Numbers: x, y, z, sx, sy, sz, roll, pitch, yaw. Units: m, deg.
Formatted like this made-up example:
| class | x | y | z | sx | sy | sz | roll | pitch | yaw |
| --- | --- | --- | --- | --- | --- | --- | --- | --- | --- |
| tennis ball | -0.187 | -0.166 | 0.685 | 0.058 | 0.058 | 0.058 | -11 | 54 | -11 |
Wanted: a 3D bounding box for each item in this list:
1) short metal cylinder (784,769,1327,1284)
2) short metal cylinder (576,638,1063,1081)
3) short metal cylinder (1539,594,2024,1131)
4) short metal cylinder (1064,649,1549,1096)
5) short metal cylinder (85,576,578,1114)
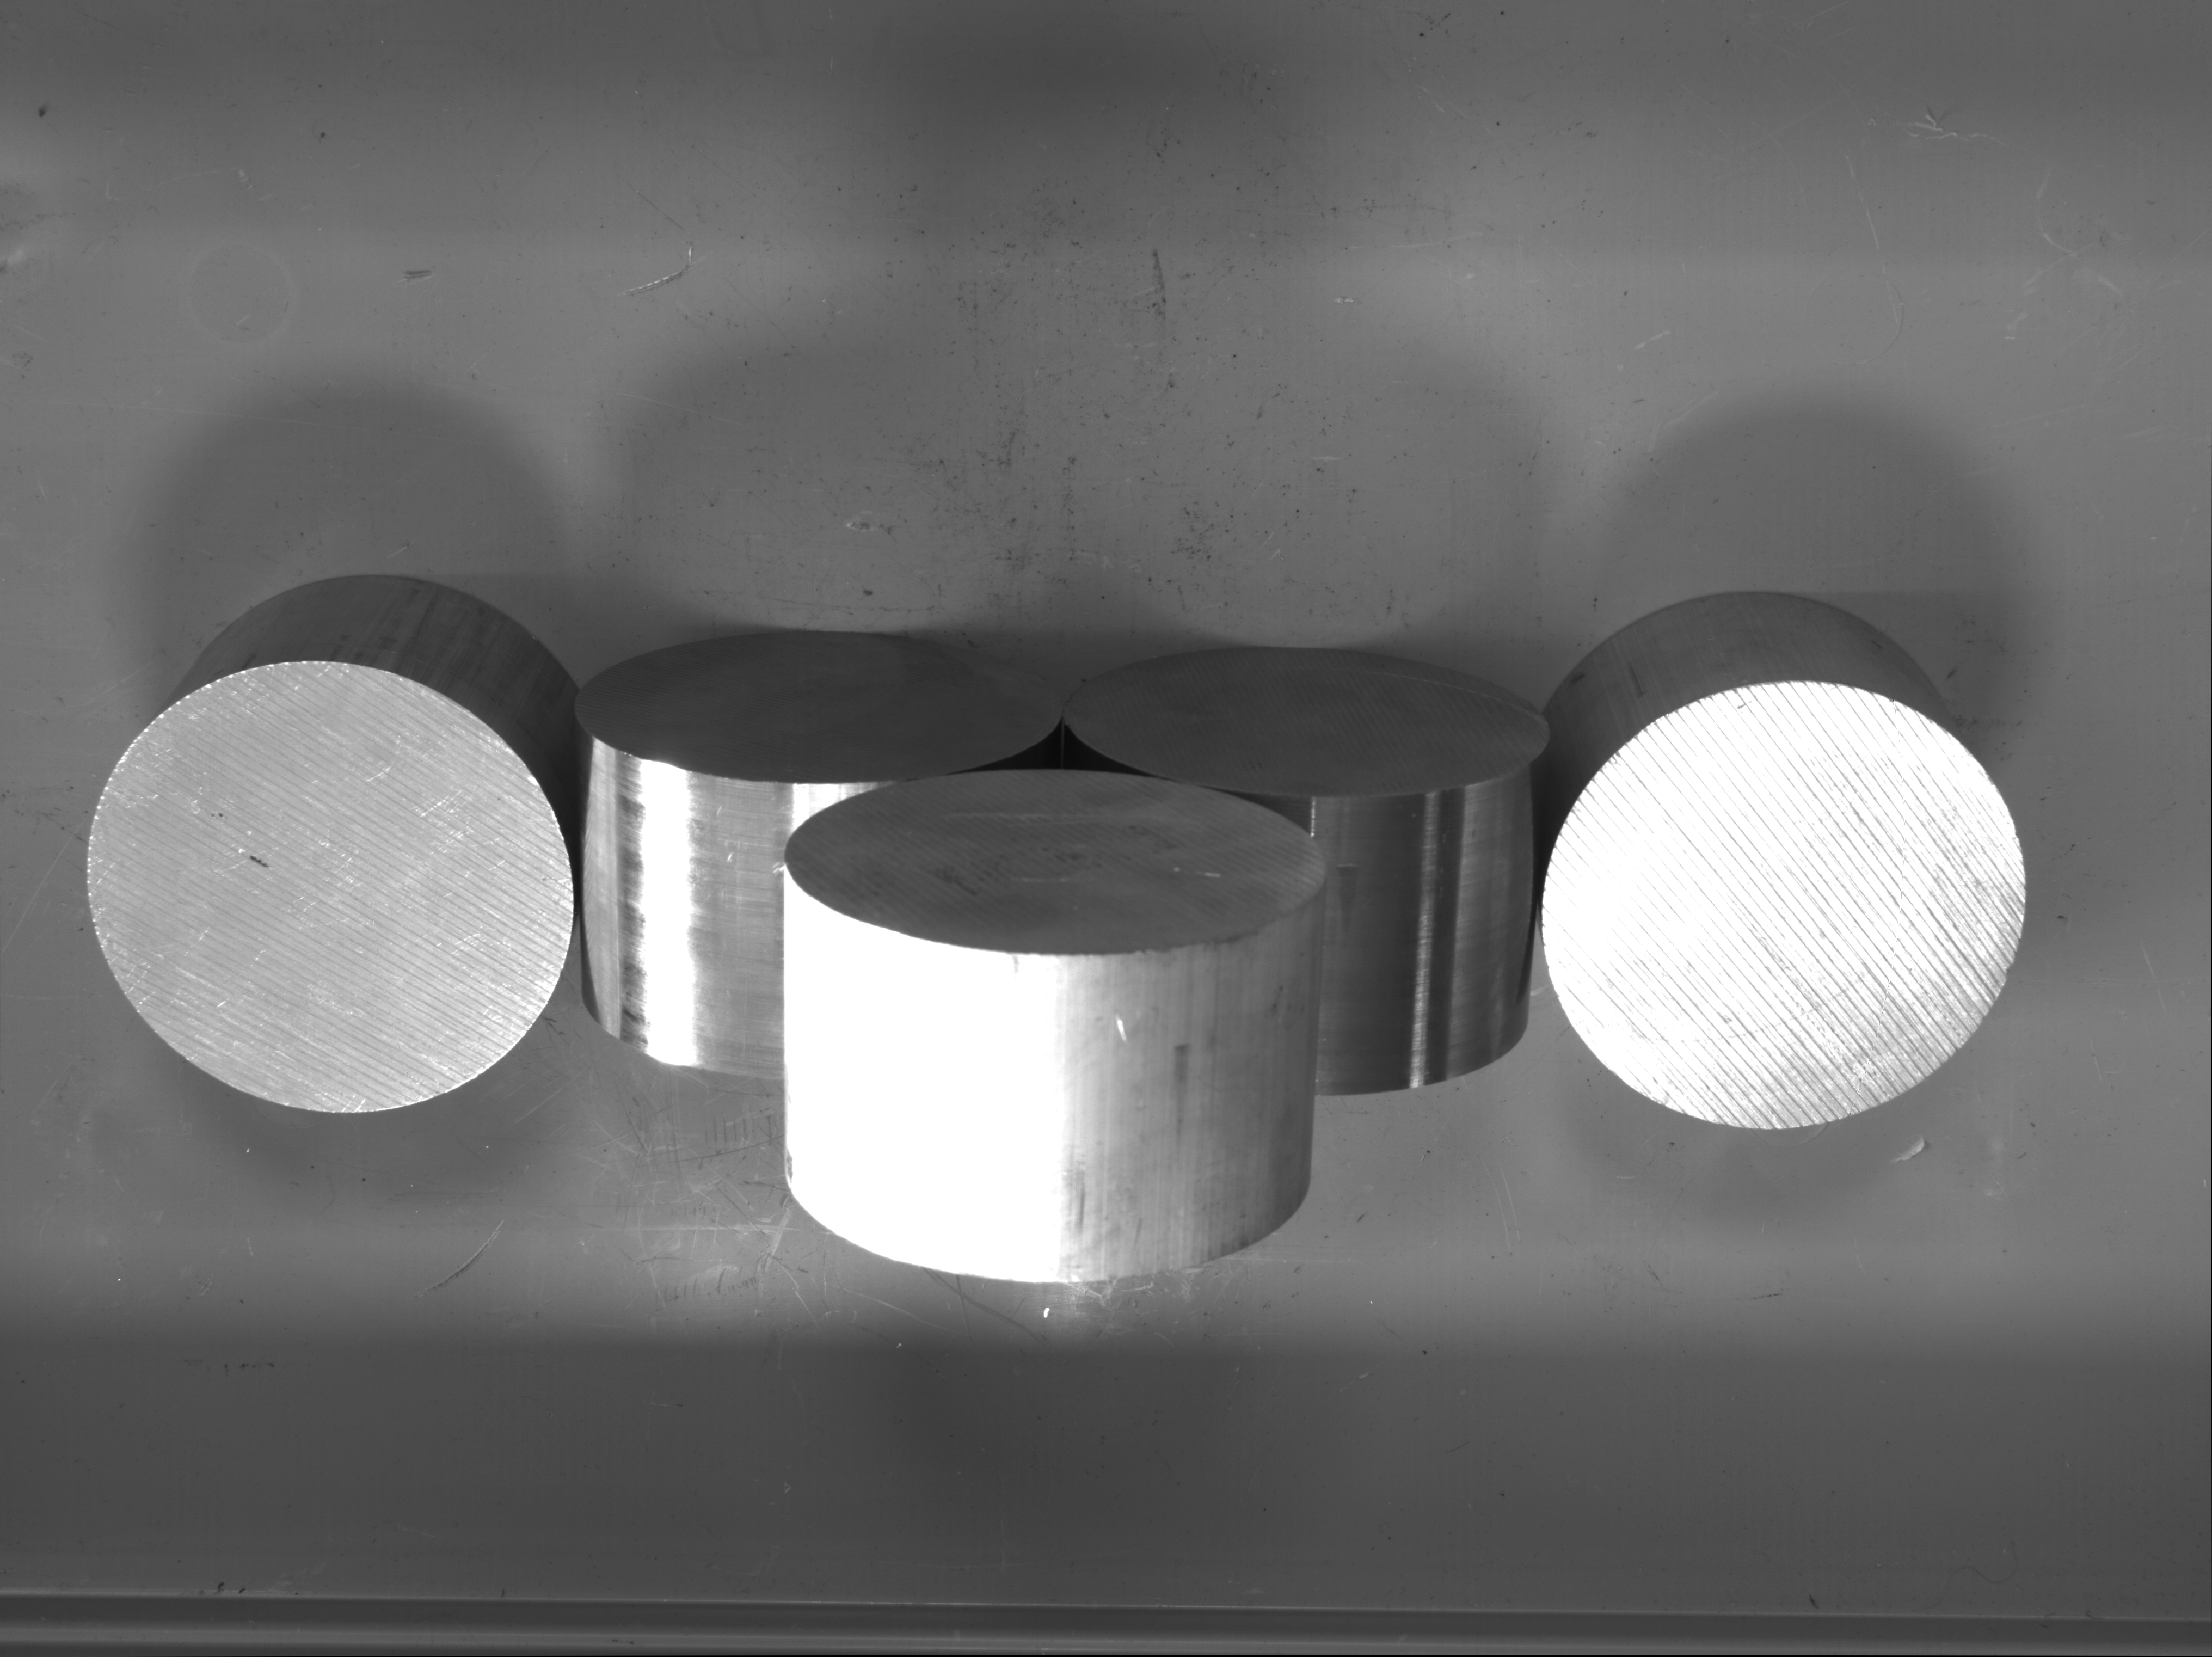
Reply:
| class | x | y | z | sx | sy | sz | roll | pitch | yaw |
| --- | --- | --- | --- | --- | --- | --- | --- | --- | --- |
| short metal cylinder | -0.008 | 0.028 | 0.550 | 0.080 | 0.080 | 0.050 | 2 | 110 | -1 |
| short metal cylinder | -0.048 | 0.003 | 0.614 | 0.080 | 0.080 | 0.050 | 2 | 110 | -1 |
| short metal cylinder | 0.112 | 0.005 | 0.631 | 0.080 | 0.050 | 0.080 | 0 | 110 | 0 |
| short metal cylinder | 0.032 | 0.006 | 0.615 | 0.080 | 0.080 | 0.050 | 2 | 110 | -1 |
| short metal cylinder | -0.128 | 0.002 | 0.629 | 0.080 | 0.050 | 0.080 | 0 | 110 | 0 |
